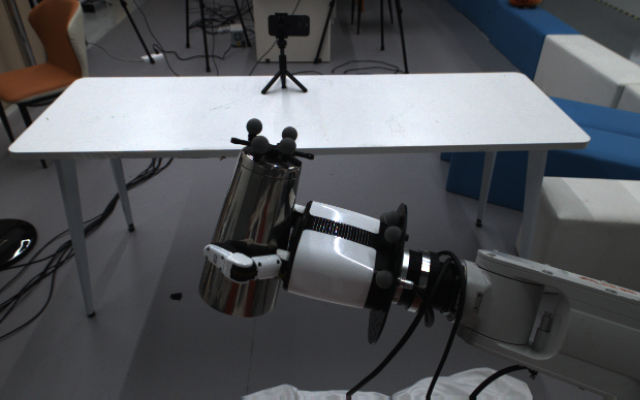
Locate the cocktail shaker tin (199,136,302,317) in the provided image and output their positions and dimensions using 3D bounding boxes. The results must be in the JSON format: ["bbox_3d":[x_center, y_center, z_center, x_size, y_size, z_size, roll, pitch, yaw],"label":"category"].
[{"bbox_3d":[-0.071,0.032,0.534,0.093,0.170,0.093,14,20,-5],"label":"cocktail shaker tin"}]
